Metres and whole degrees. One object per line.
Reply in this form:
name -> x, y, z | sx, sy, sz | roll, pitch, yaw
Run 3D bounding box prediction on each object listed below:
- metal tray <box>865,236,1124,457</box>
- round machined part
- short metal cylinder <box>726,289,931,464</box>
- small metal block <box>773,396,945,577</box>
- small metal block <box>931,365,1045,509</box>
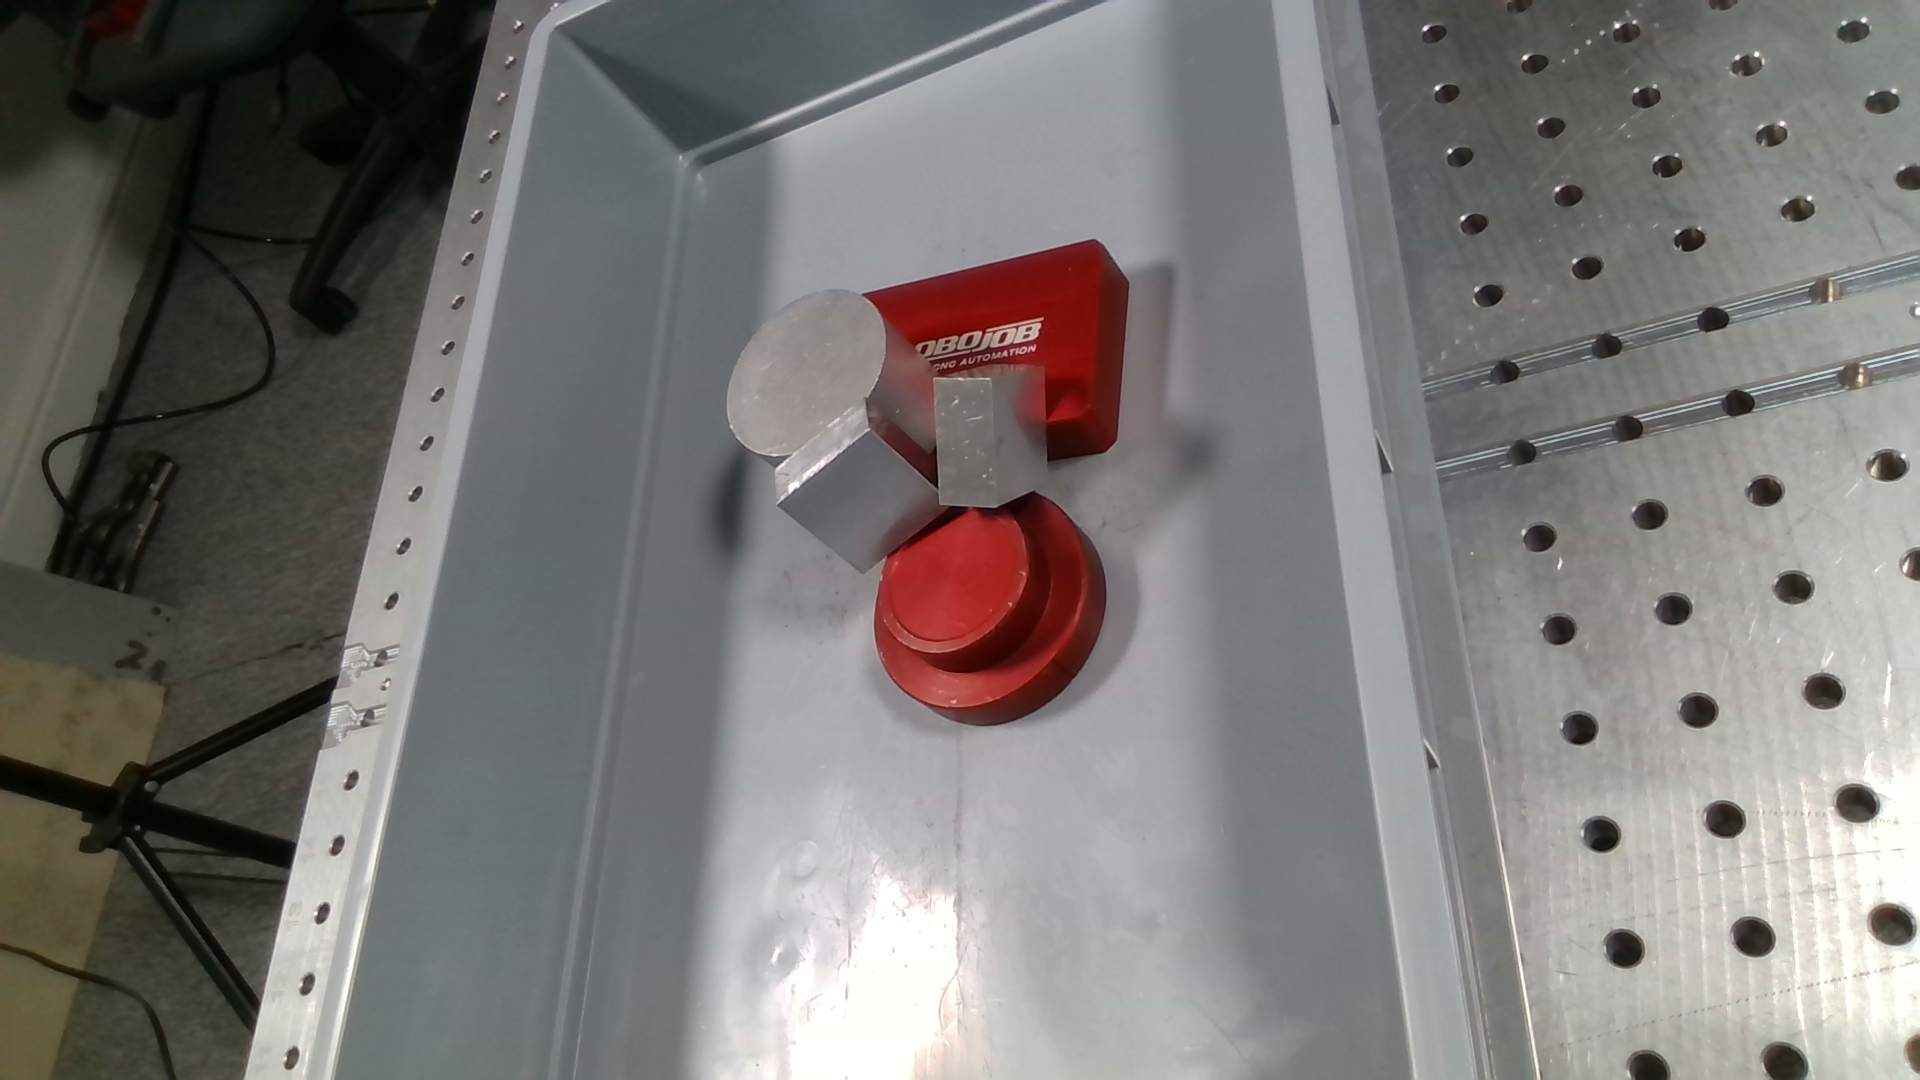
metal tray -> 0.006, -0.079, 0.616 | 0.130, 0.030, 0.090 | -7, 62, 29
round machined part -> 0.006, 0.022, 0.557 | 0.098, 0.042, 0.098 | -14, 59, 25
short metal cylinder -> -0.054, -0.061, 0.594 | 0.080, 0.050, 0.080 | -14, 59, 25
small metal block -> -0.039, -0.021, 0.553 | 0.050, 0.050, 0.025 | -37, 33, 18
small metal block -> 0.013, -0.042, 0.550 | 0.025, 0.050, 0.050 | 4, 104, 27
